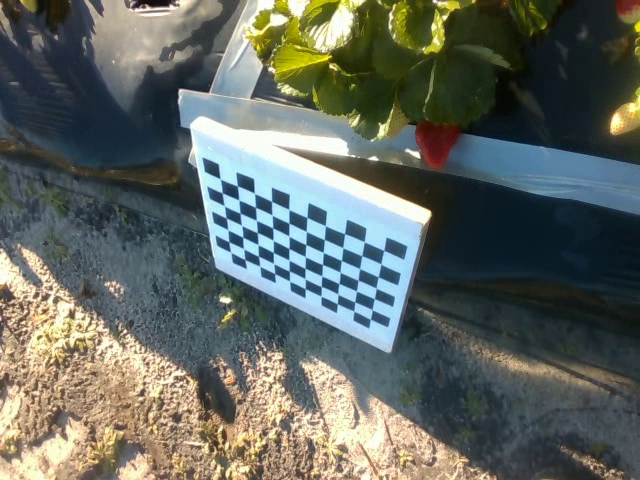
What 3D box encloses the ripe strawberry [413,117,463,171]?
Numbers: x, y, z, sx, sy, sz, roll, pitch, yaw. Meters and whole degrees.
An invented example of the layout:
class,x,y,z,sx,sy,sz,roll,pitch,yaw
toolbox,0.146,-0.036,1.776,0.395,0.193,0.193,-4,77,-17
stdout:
class,x,y,z,sx,sy,sz,roll,pitch,yaw
ripe strawberry,0.111,-0.096,0.587,0.048,0.064,0.045,14,-27,-17
